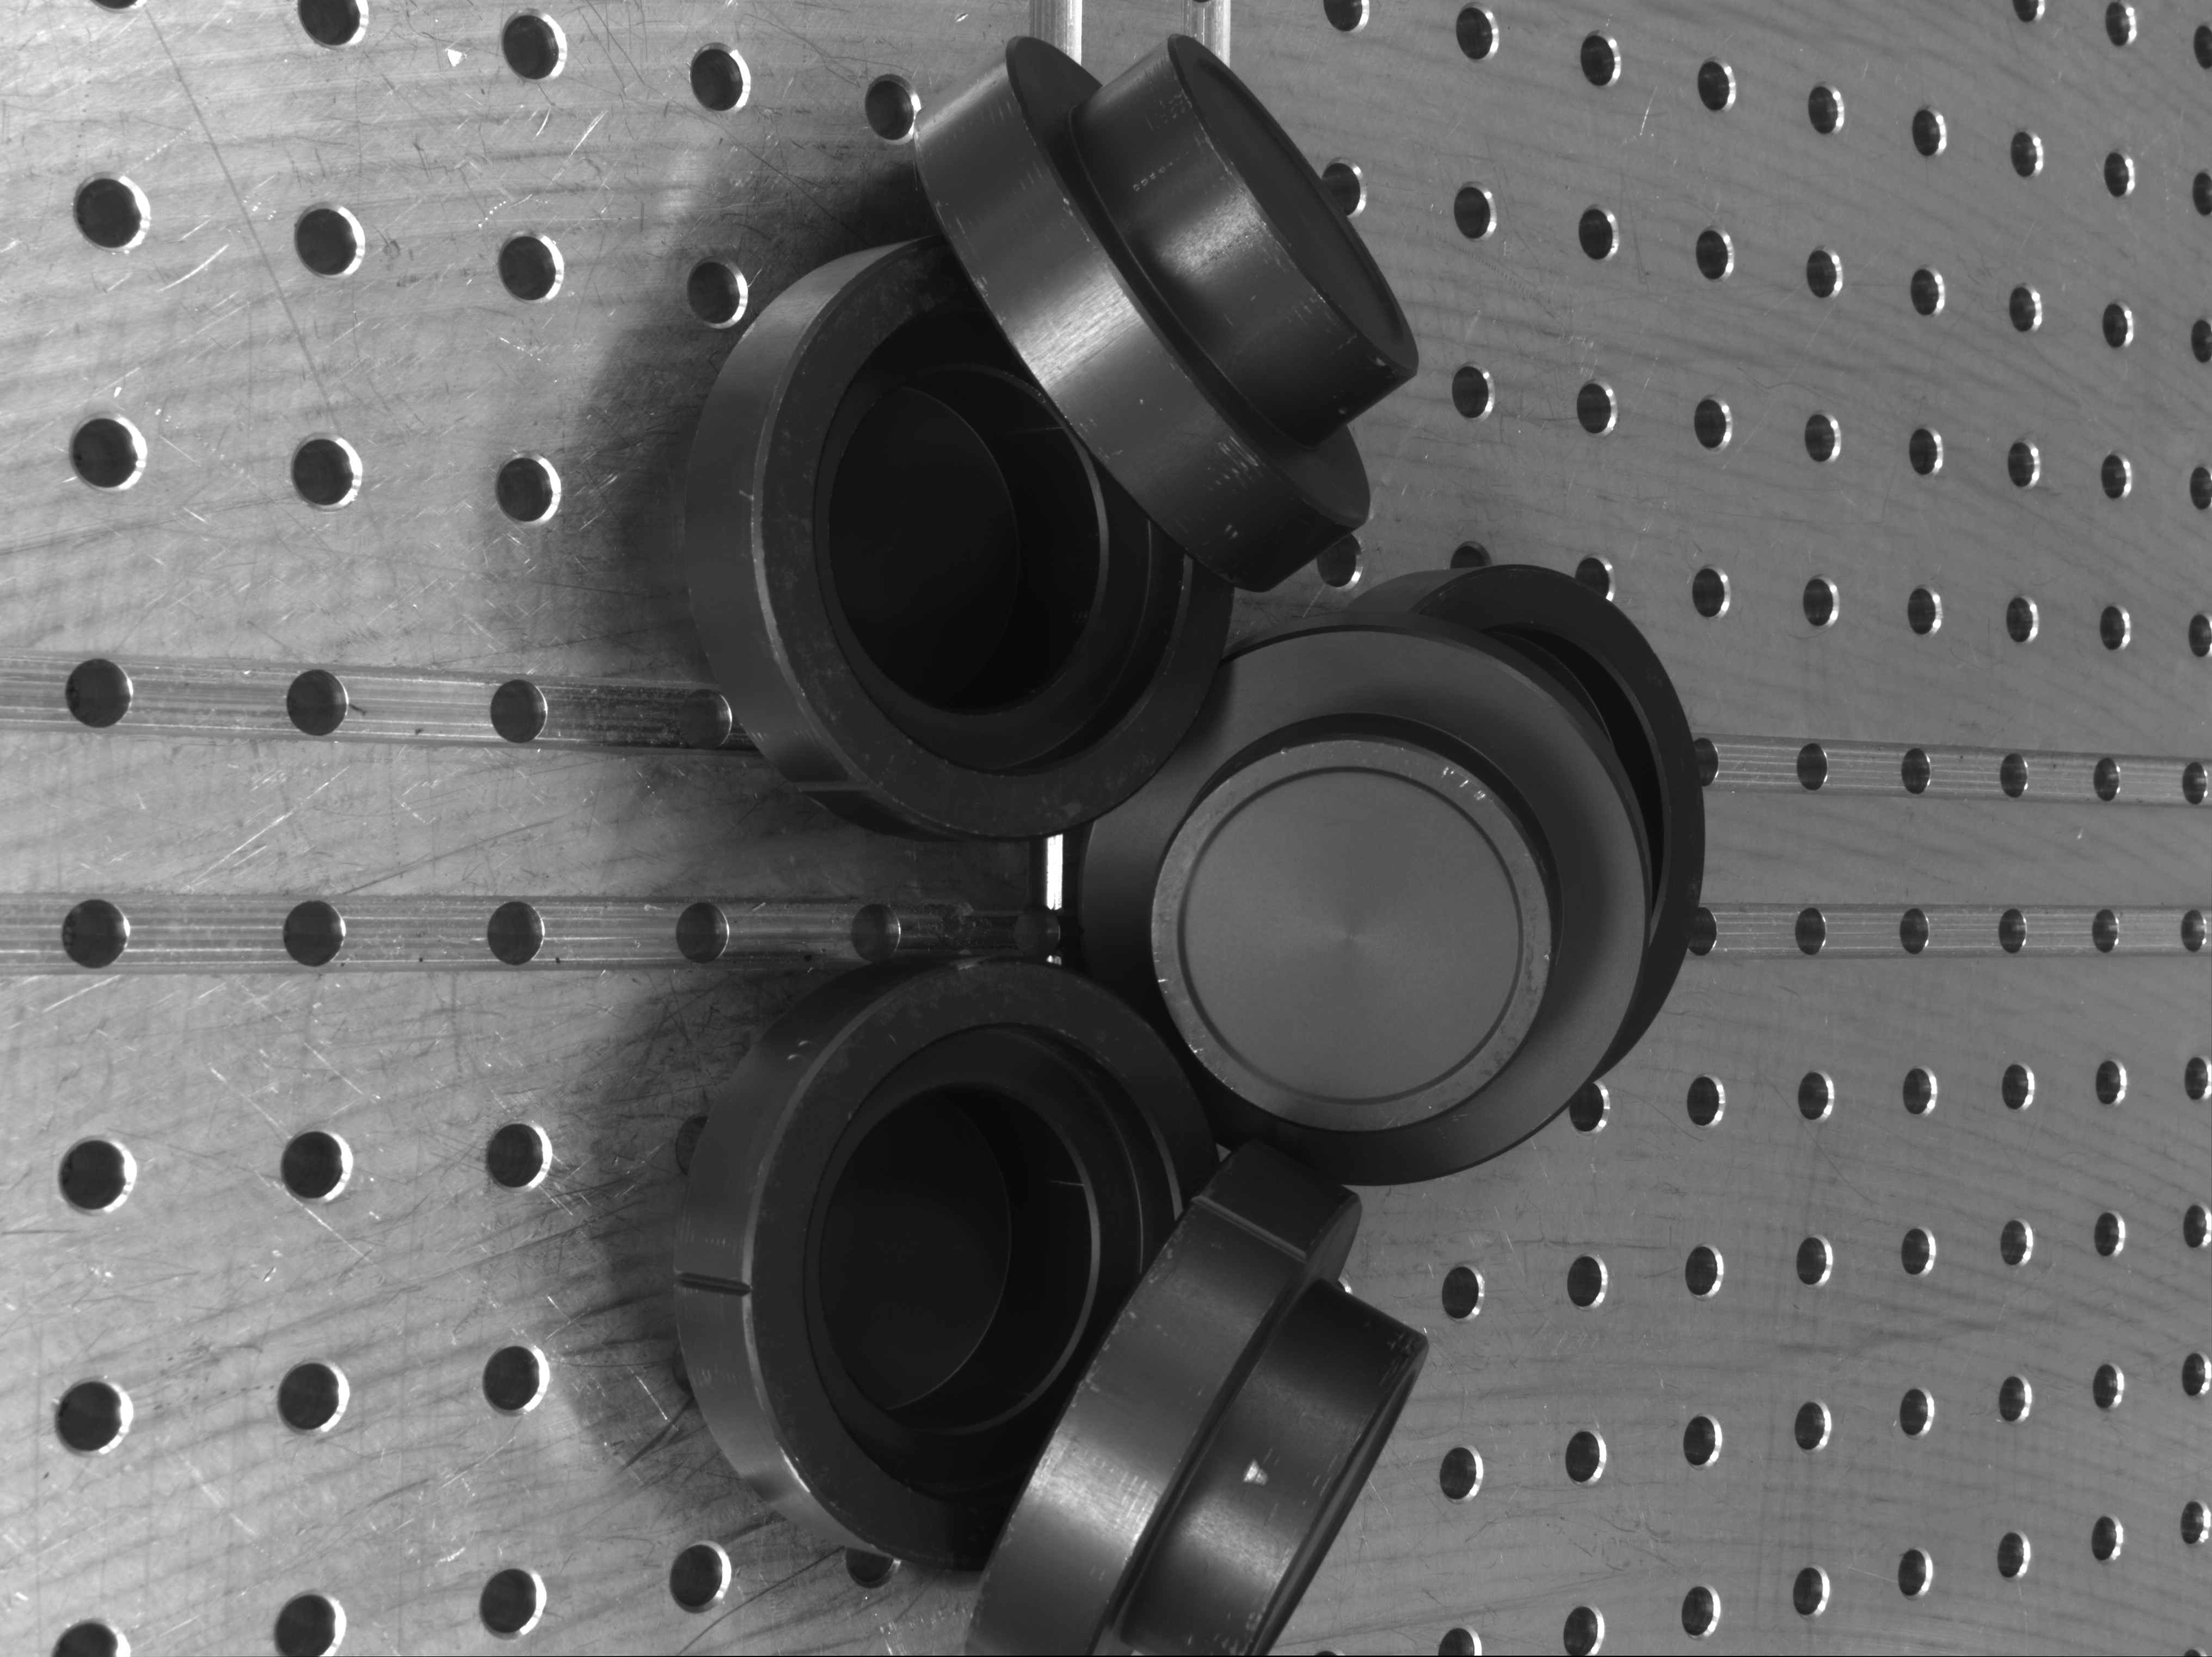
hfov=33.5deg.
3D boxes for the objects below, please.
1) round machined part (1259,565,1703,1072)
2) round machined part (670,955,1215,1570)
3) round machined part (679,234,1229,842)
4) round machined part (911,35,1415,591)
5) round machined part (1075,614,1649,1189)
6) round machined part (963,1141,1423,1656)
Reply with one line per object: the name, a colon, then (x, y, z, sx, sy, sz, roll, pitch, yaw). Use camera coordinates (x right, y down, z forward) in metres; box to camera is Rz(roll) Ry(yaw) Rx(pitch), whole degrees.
round machined part: (0.062, 0.001, 0.679, 0.098, 0.042, 0.098, 0, 90, -40)
round machined part: (-0.030, 0.069, 0.602, 0.098, 0.042, 0.098, 0, 90, -40)
round machined part: (-0.029, -0.047, 0.603, 0.098, 0.042, 0.098, 0, 90, -40)
round machined part: (0.015, -0.091, 0.605, 0.098, 0.042, 0.098, 49, 17, -20)
round machined part: (0.043, 0.014, 0.625, 0.042, 0.098, 0.098, -54, 134, -77)
round machined part: (0.019, 0.104, 0.607, 0.042, 0.098, 0.098, 28, 70, 11)
